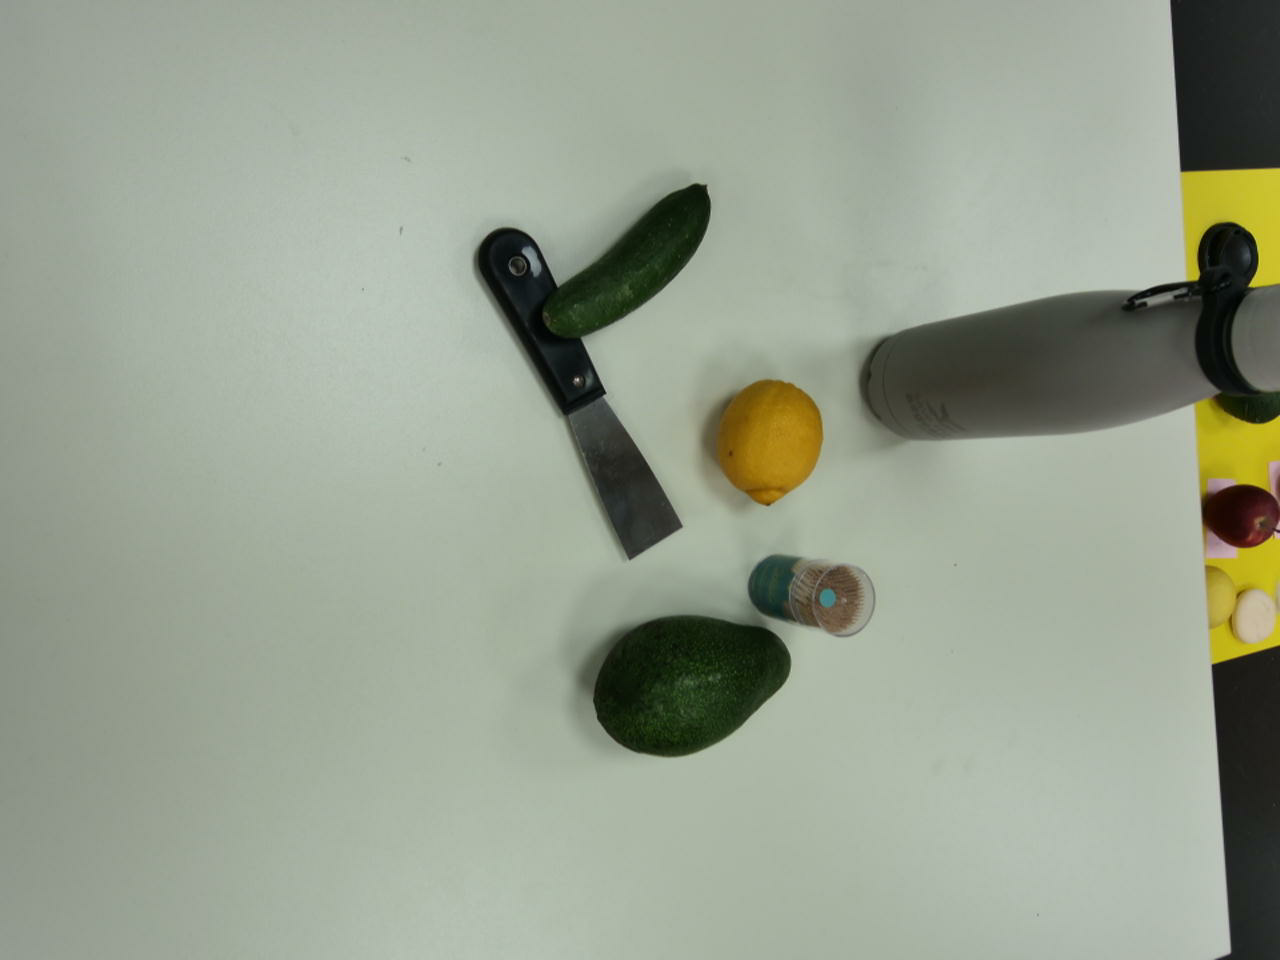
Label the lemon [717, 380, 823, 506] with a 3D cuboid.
[{"bbox_3d":[0.074,-0.023,0.572,0.061,0.059,0.067,38,77,-18],"label":"lemon"}]
